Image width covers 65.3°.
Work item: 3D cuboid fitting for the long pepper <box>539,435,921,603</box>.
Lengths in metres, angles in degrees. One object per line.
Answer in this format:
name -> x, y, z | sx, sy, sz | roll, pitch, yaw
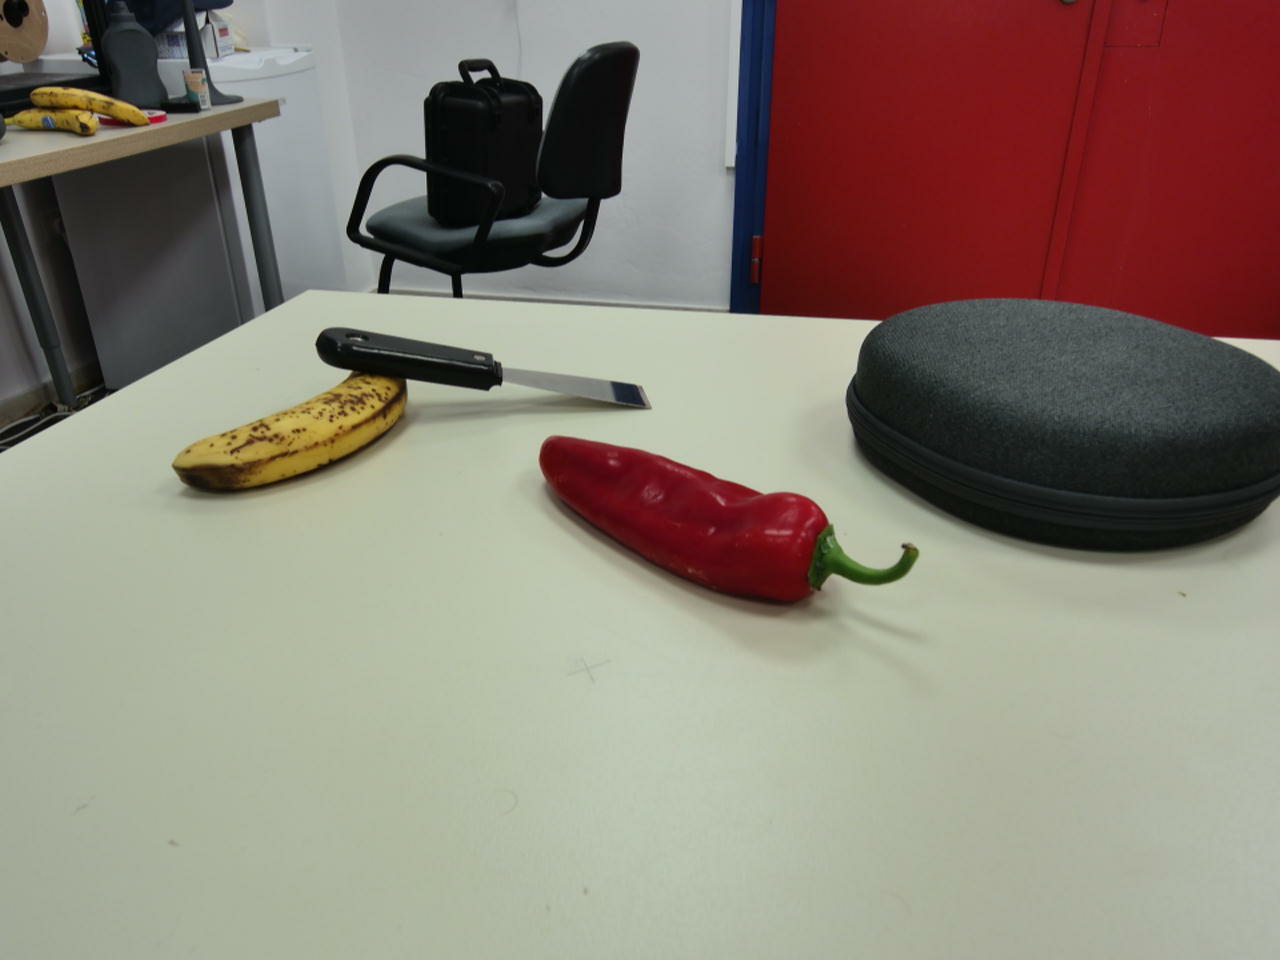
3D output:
long pepper -> 0.021, 0.013, 0.437 | 0.050, 0.043, 0.211 | -22, 32, -40
